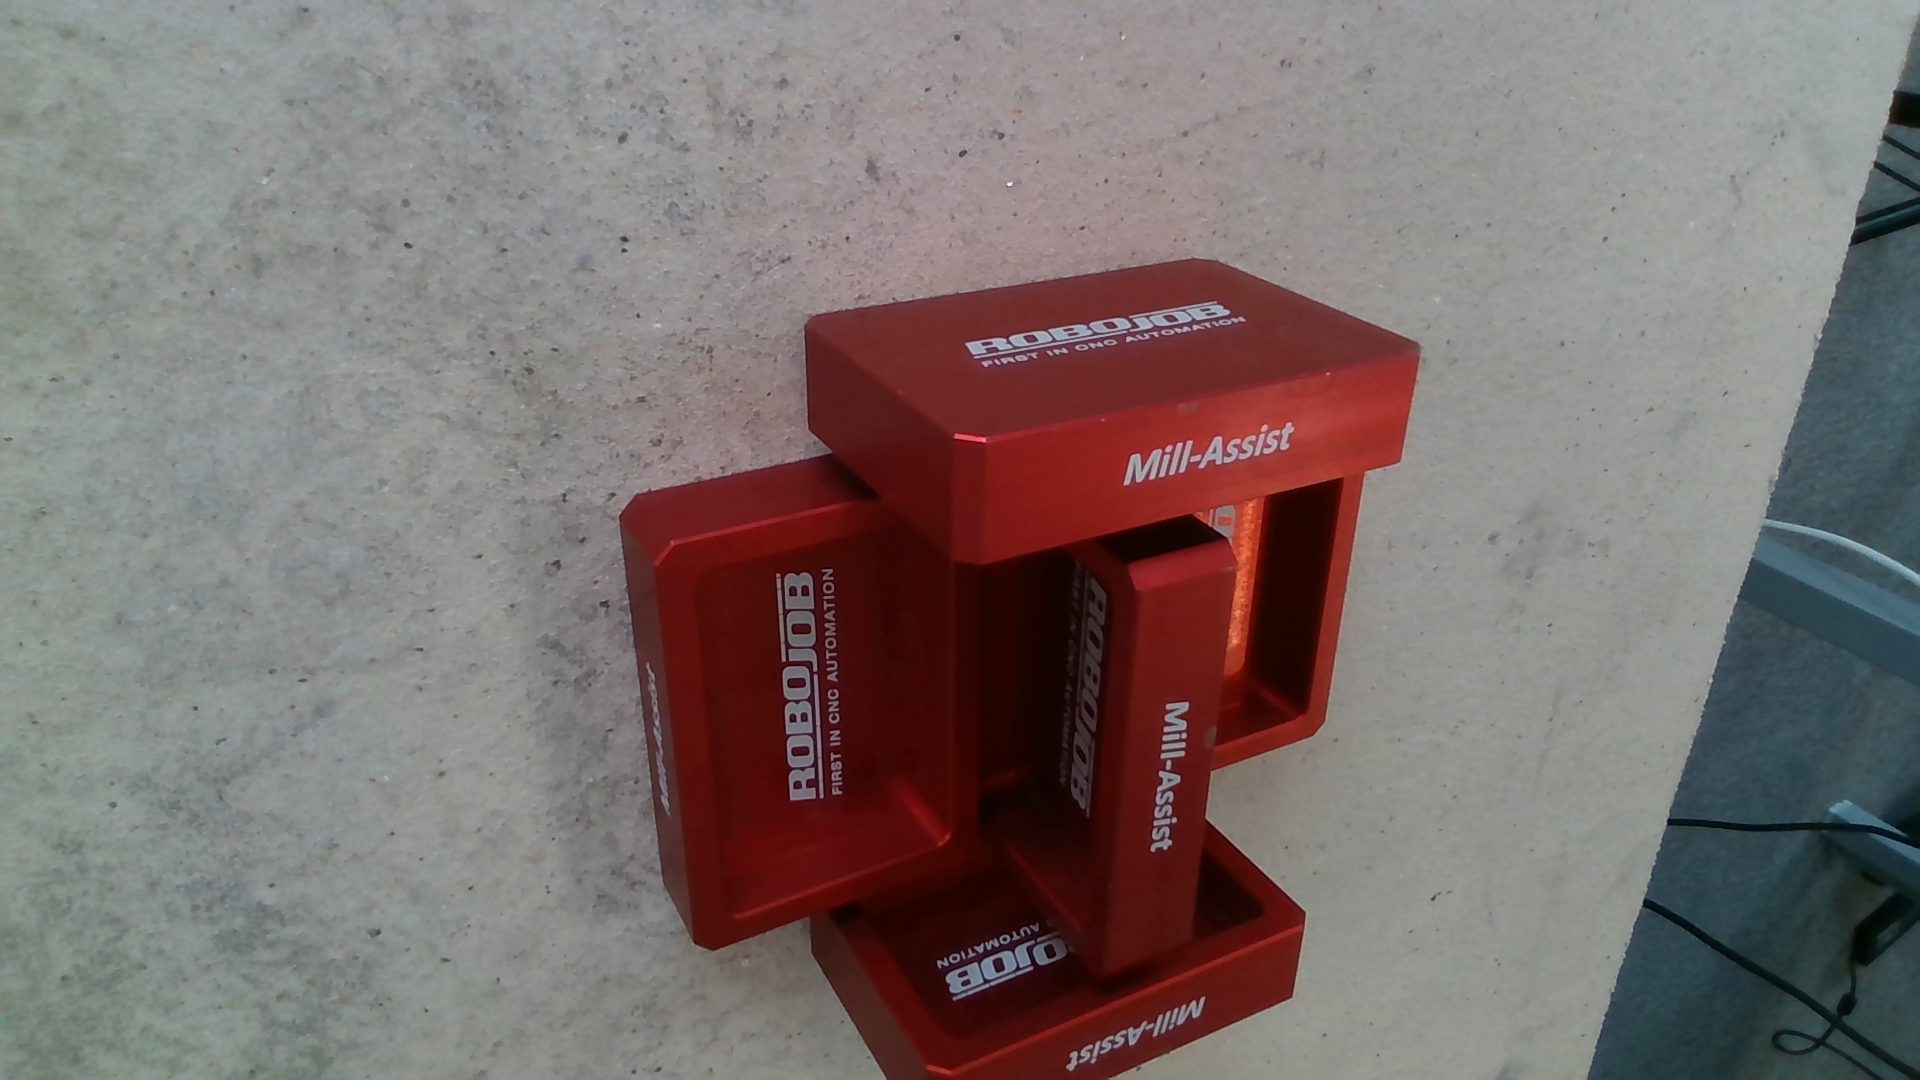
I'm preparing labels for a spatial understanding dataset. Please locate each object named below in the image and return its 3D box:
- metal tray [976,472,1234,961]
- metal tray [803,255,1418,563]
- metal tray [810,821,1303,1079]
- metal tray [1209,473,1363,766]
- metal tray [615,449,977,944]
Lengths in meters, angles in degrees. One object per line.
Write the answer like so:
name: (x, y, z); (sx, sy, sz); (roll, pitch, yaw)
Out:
metal tray: (0.032, 0.041, 0.392); (0.030, 0.090, 0.130); (-13, 121, -24)
metal tray: (0.036, -0.039, 0.349); (0.130, 0.090, 0.030); (-13, 121, -25)
metal tray: (0.029, 0.122, 0.432); (0.130, 0.090, 0.030); (-13, 121, -26)
metal tray: (0.080, 0.012, 0.443); (0.090, 0.030, 0.130); (-13, 121, -22)
metal tray: (-0.042, 0.042, 0.385); (0.090, 0.030, 0.130); (-15, 122, -26)
